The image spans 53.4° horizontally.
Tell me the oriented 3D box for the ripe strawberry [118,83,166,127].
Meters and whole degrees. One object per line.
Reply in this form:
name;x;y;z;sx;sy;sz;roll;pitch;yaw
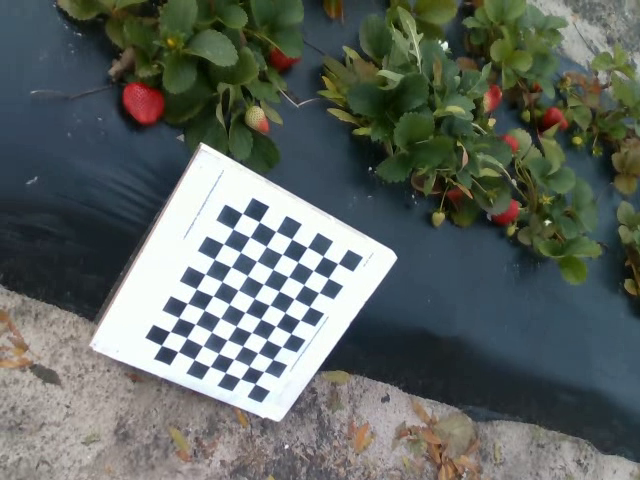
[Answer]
ripe strawberry;-0.153;-0.119;0.558;0.037;0.046;0.037;-13;-25;-1
